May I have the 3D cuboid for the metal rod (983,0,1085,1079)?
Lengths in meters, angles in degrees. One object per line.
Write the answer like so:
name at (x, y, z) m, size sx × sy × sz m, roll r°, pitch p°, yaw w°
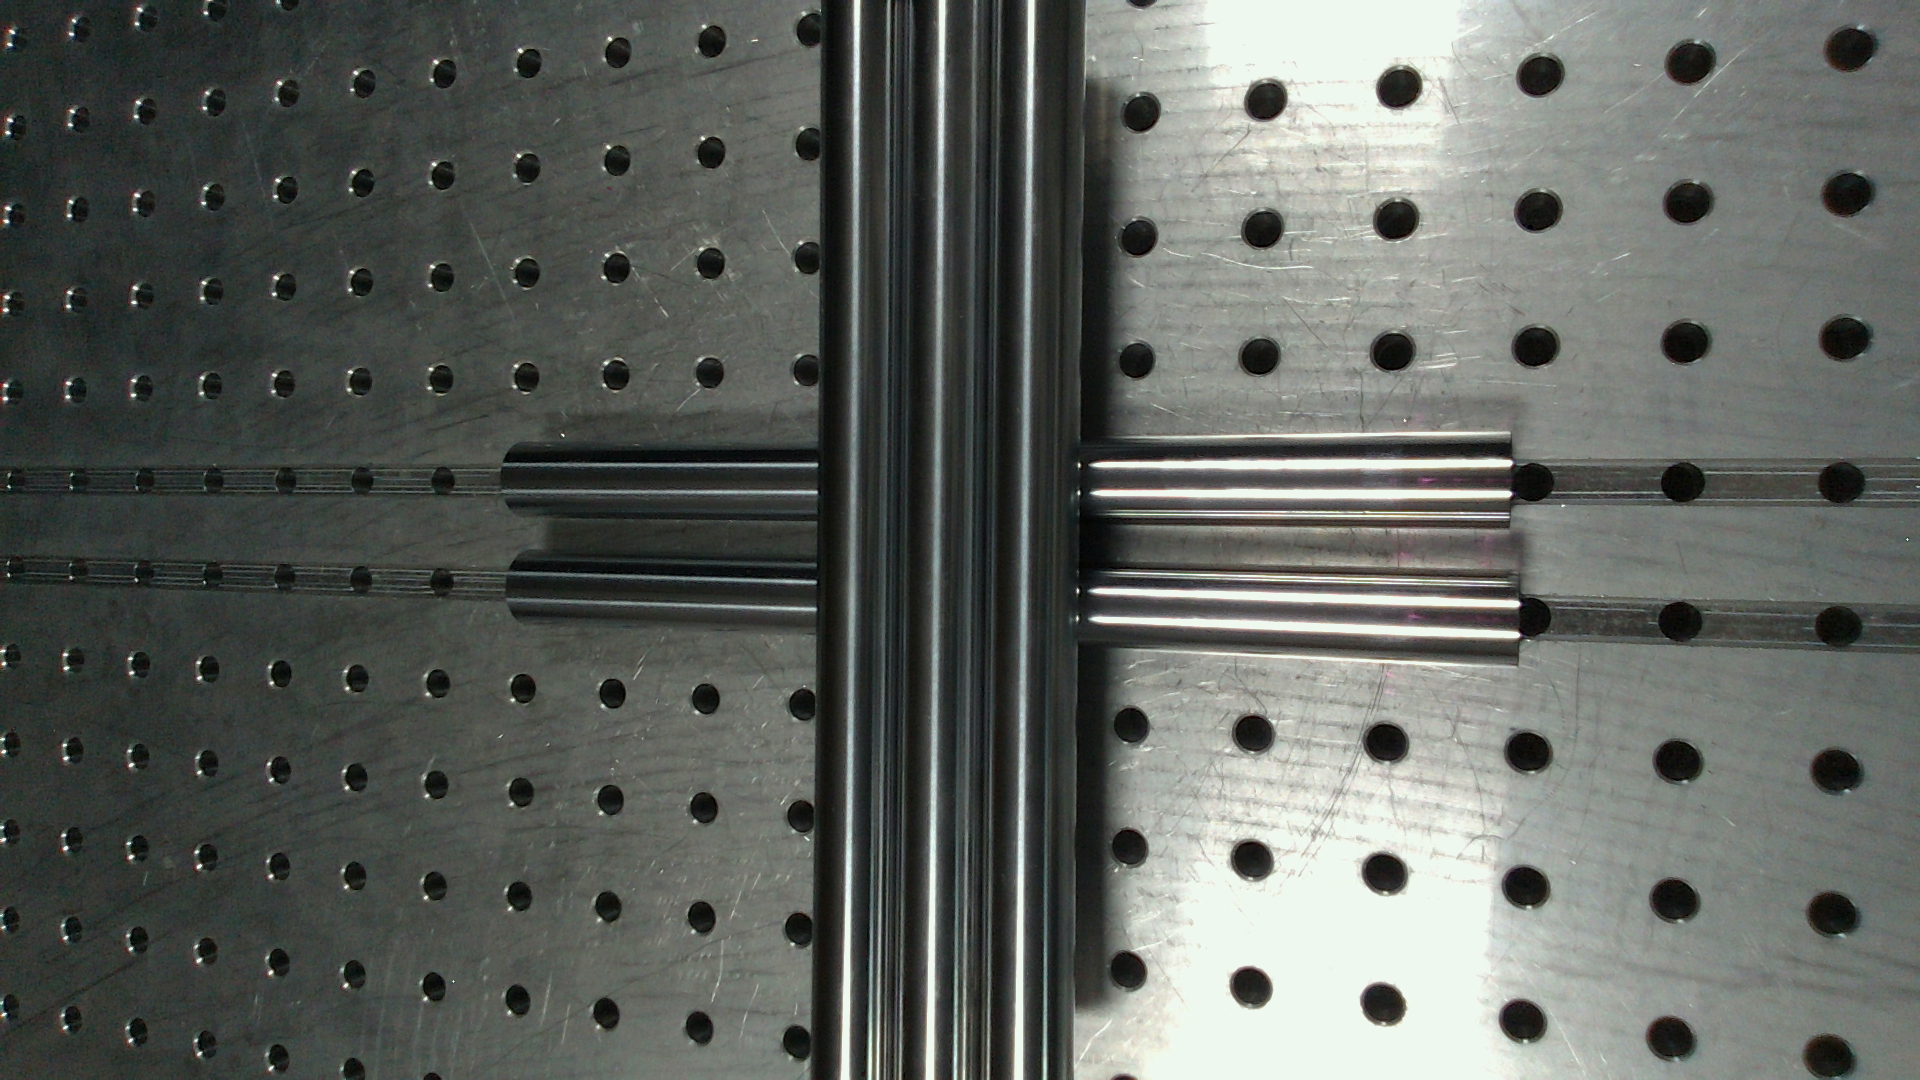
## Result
metal rod at (0.020, -0.001, 0.365) m, size 0.025 × 0.025 × 0.300 m, roll 1°, pitch 90°, yaw 20°

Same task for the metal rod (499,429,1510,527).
metal rod at (-0.002, -0.018, 0.399) m, size 0.299 × 0.025 × 0.025 m, roll 1°, pitch 90°, yaw 20°

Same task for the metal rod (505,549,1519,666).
metal rod at (0.000, 0.017, 0.399) m, size 0.299 × 0.025 × 0.025 m, roll 1°, pitch 90°, yaw 20°

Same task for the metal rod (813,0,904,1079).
metal rod at (-0.027, 0.002, 0.382) m, size 0.025 × 0.025 × 0.300 m, roll 1°, pitch 90°, yaw 20°

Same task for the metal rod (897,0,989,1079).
metal rod at (-0.004, 0.001, 0.374) m, size 0.025 × 0.025 × 0.300 m, roll 1°, pitch 90°, yaw 20°
